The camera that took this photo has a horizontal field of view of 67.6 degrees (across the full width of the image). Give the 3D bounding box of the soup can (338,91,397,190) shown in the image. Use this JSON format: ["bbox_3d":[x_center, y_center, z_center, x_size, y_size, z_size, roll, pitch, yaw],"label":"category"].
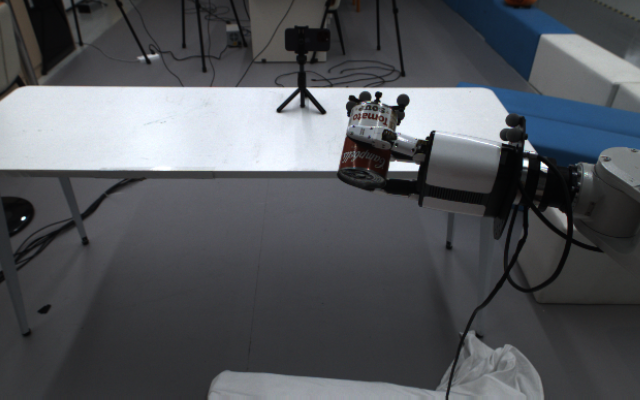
[{"bbox_3d":[0.066,-0.076,0.662,0.067,0.067,0.101,9,72,10],"label":"soup can"}]
